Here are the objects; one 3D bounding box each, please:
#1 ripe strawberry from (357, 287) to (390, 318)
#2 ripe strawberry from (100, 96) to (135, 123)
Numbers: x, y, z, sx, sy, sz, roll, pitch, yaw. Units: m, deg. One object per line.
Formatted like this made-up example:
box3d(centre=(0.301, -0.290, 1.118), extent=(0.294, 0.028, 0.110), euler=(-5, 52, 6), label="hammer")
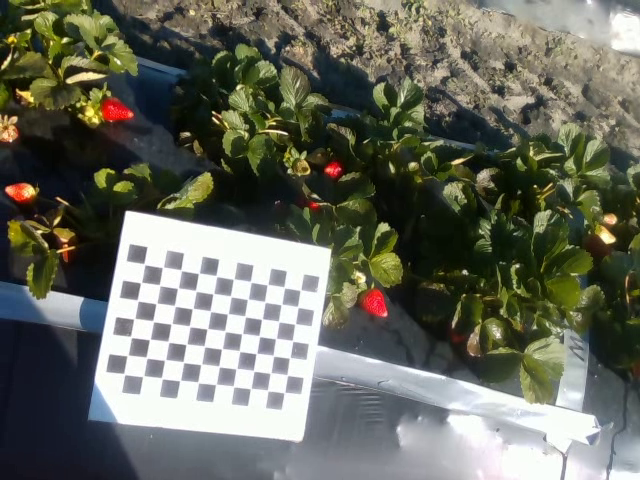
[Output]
box3d(centre=(0.087, 0.103, 0.942), extent=(0.048, 0.055, 0.029), euler=(-36, 5, -13), label="ripe strawberry")
box3d(centre=(-0.347, -0.221, 1.033), extent=(0.064, 0.050, 0.052), euler=(16, -7, -3), label="ripe strawberry")
